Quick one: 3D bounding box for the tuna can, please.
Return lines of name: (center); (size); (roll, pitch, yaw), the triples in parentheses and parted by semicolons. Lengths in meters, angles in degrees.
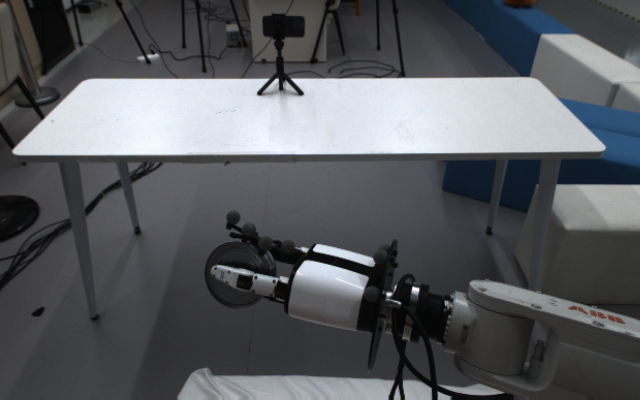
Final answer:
tuna can: (-0.098, 0.092, 0.615); (0.085, 0.085, 0.034); (10, 4, 11)
